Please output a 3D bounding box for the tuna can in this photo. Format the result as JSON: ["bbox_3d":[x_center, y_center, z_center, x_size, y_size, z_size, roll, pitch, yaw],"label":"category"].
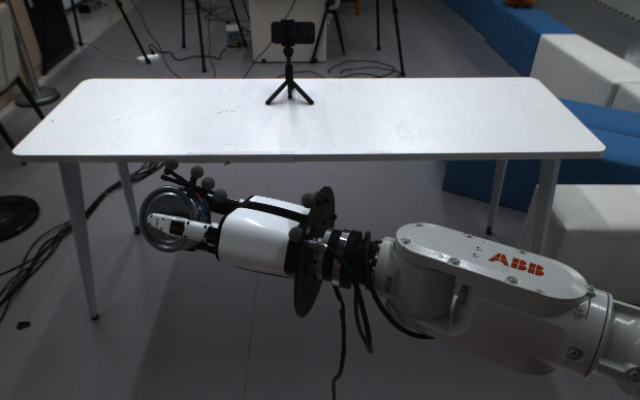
[{"bbox_3d":[-0.185,0.024,0.620,0.085,0.085,0.034,12,4,14],"label":"tuna can"}]
